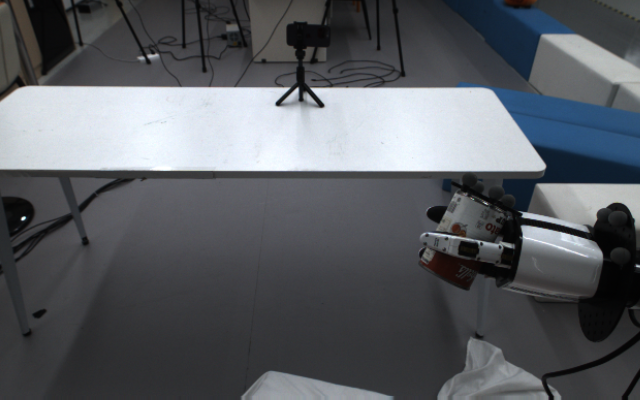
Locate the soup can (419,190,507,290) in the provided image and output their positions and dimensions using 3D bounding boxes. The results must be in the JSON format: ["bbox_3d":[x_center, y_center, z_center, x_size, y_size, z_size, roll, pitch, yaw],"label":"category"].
[{"bbox_3d":[0.174,0.047,0.580,0.067,0.101,0.067,25,5,-3],"label":"soup can"}]
